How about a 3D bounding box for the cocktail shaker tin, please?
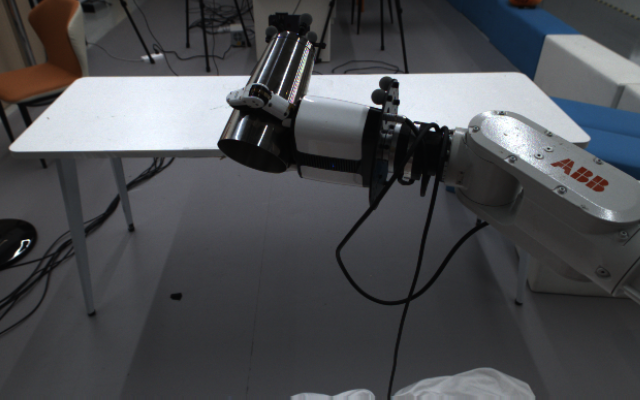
[{"bbox_3d":[-0.063,-0.132,0.633,0.093,0.093,0.170,14,72,16],"label":"cocktail shaker tin"}]
